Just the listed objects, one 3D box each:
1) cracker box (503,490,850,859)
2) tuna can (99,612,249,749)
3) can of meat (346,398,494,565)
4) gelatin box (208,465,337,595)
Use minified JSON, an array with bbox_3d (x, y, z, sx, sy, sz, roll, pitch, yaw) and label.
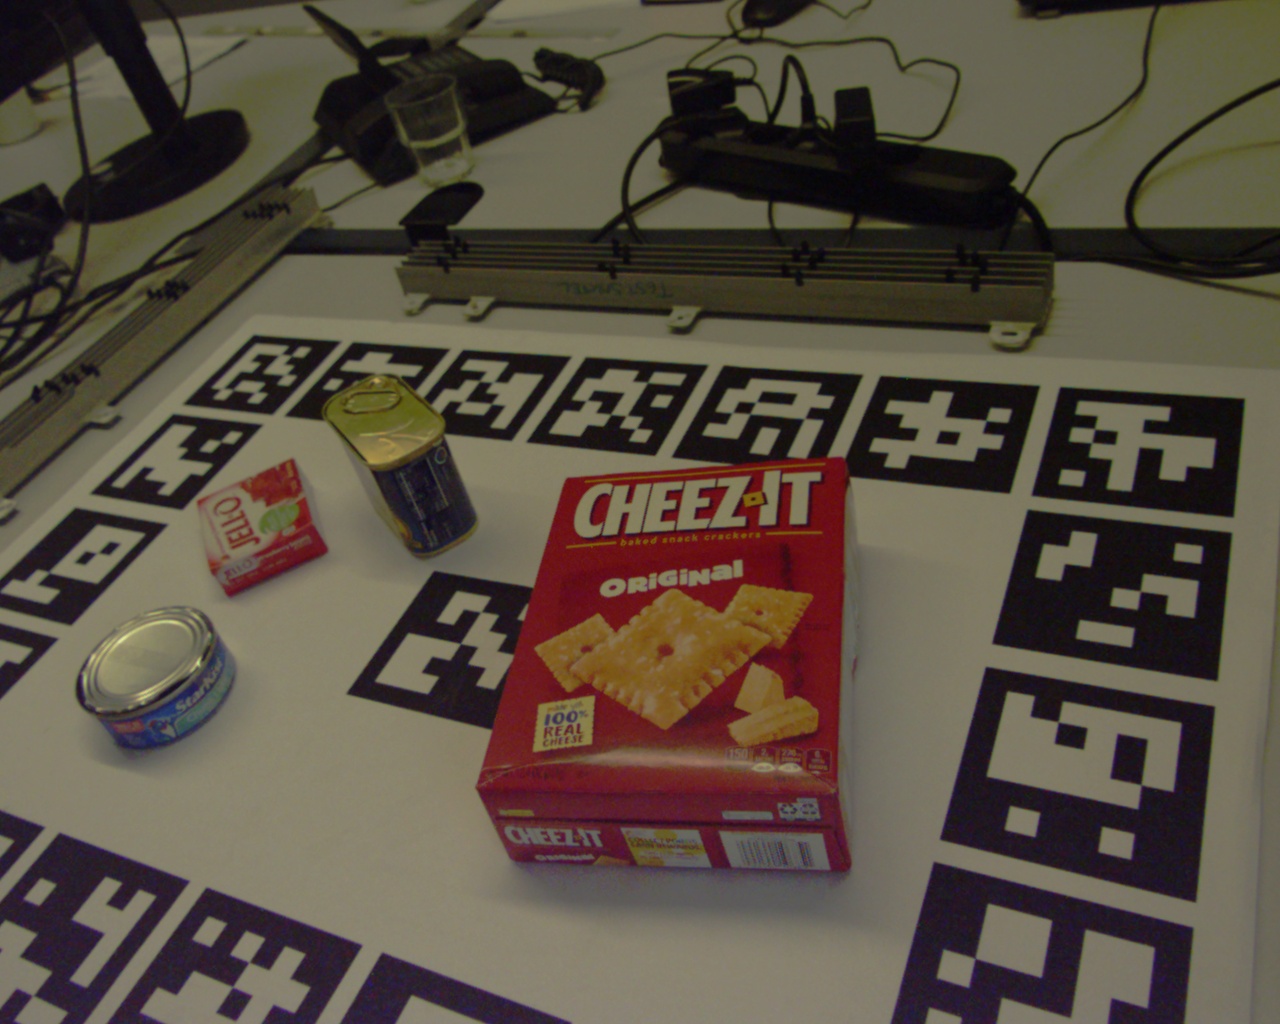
[{"bbox_3d":[0.028,0.081,0.626,0.165,0.071,0.214,-4,40,12],"label":"cracker box"},{"bbox_3d":[-0.293,0.106,0.719,0.086,0.033,0.086,-11,43,9],"label":"tuna can"},{"bbox_3d":[-0.152,-0.021,0.797,0.057,0.083,0.103,-32,42,-20],"label":"can of meat"},{"bbox_3d":[-0.268,0.011,0.828,0.073,0.030,0.090,-23,43,-13],"label":"gelatin box"}]
